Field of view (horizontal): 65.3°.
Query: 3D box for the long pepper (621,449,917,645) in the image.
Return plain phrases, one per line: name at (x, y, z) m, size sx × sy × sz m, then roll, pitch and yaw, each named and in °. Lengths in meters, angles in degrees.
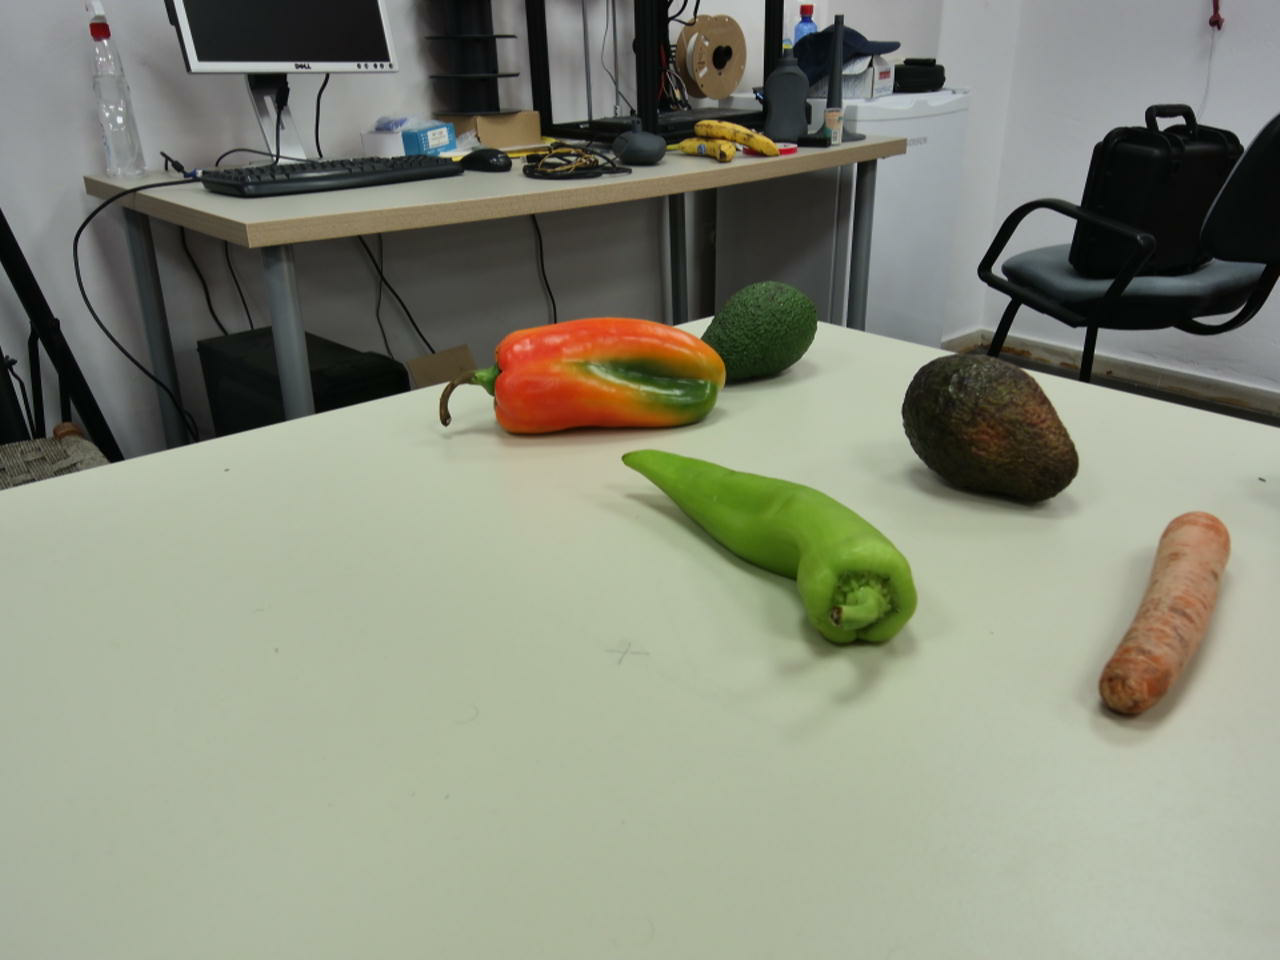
long pepper at (0.060, 0.020, 0.463) m, size 0.065 × 0.045 × 0.204 m, roll -9°, pitch 24°, yaw -21°
